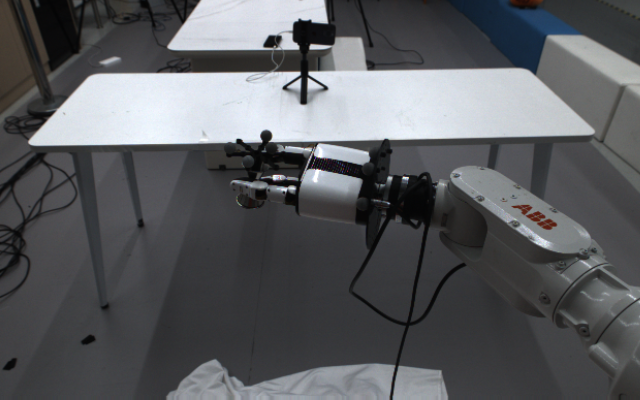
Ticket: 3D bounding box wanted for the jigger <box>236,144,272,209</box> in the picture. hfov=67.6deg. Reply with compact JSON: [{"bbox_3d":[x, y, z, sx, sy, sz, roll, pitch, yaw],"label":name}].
[{"bbox_3d":[-0.101,-0.026,0.728,0.043,0.071,0.043,10,36,-7],"label":"jigger"}]
